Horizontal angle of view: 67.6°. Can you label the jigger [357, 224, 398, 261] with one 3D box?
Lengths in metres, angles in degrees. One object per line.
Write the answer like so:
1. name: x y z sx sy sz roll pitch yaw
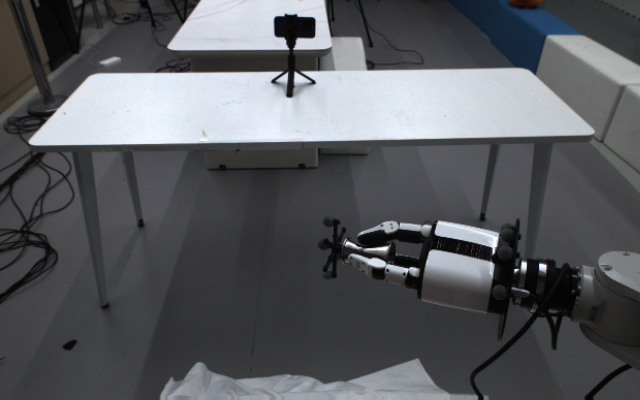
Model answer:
1. jigger: 0.075 0.073 0.687 0.071 0.043 0.043 6 34 22
